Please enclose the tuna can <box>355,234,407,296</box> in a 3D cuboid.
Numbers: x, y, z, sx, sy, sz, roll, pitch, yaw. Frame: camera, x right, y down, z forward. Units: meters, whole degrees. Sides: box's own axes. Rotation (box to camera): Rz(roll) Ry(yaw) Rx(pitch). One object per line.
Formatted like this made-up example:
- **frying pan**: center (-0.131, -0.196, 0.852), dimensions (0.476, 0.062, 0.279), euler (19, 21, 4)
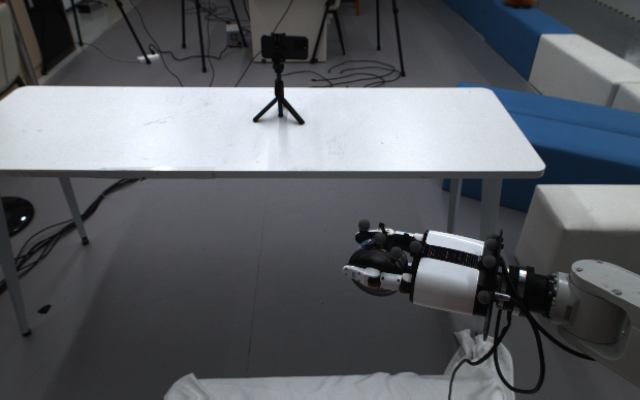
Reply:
- **tuna can**: center (0.090, 0.099, 0.729), dimensions (0.085, 0.085, 0.034), euler (16, 29, 19)
